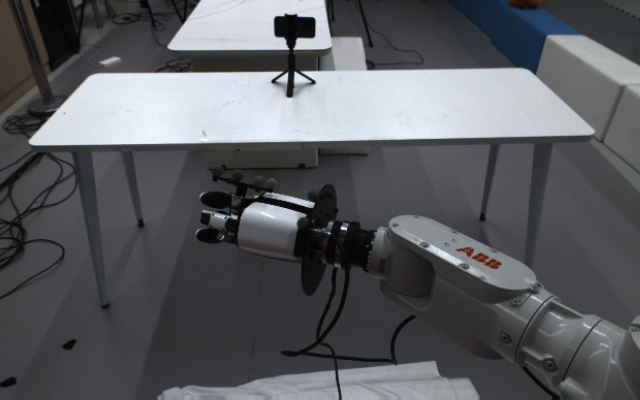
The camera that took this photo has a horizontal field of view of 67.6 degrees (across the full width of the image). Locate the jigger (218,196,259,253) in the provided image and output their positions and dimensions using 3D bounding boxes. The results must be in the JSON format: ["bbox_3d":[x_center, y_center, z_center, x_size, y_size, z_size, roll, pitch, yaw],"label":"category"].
[{"bbox_3d":[-0.121,0.027,0.710,0.043,0.071,0.043,13,1,0],"label":"jigger"}]
